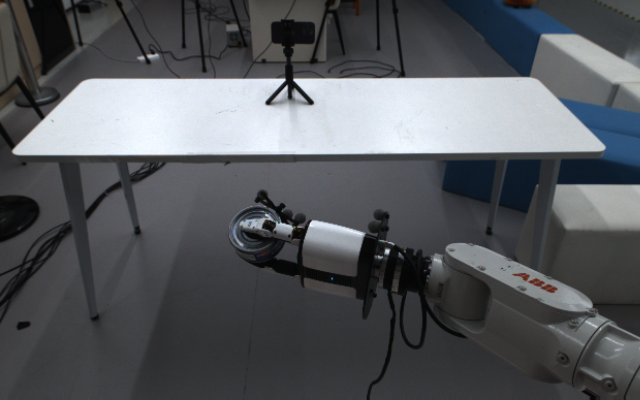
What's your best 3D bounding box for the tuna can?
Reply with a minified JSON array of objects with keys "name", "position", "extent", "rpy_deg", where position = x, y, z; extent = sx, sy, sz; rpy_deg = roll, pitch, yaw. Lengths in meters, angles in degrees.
[{"name":"tuna can","position":[-0.094,0.058,0.744],"extent":[0.085,0.034,0.085],"rpy_deg":[-4,58,6]}]
